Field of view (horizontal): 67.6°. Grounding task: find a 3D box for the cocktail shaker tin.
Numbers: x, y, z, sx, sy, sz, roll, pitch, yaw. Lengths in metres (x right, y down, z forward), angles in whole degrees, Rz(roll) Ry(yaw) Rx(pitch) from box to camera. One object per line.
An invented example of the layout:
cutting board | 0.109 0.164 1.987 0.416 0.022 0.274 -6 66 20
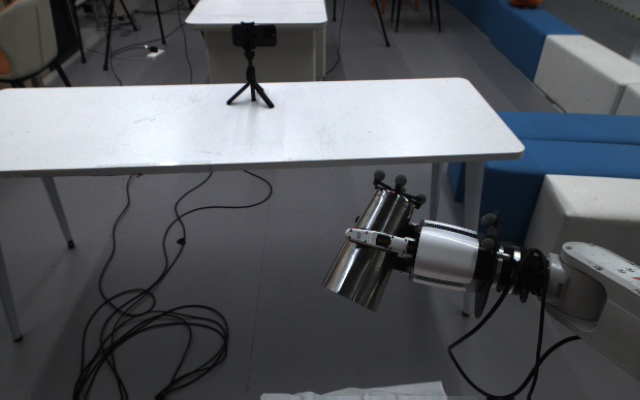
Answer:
cocktail shaker tin | 0.081 0.069 0.734 0.093 0.093 0.170 21 81 25
